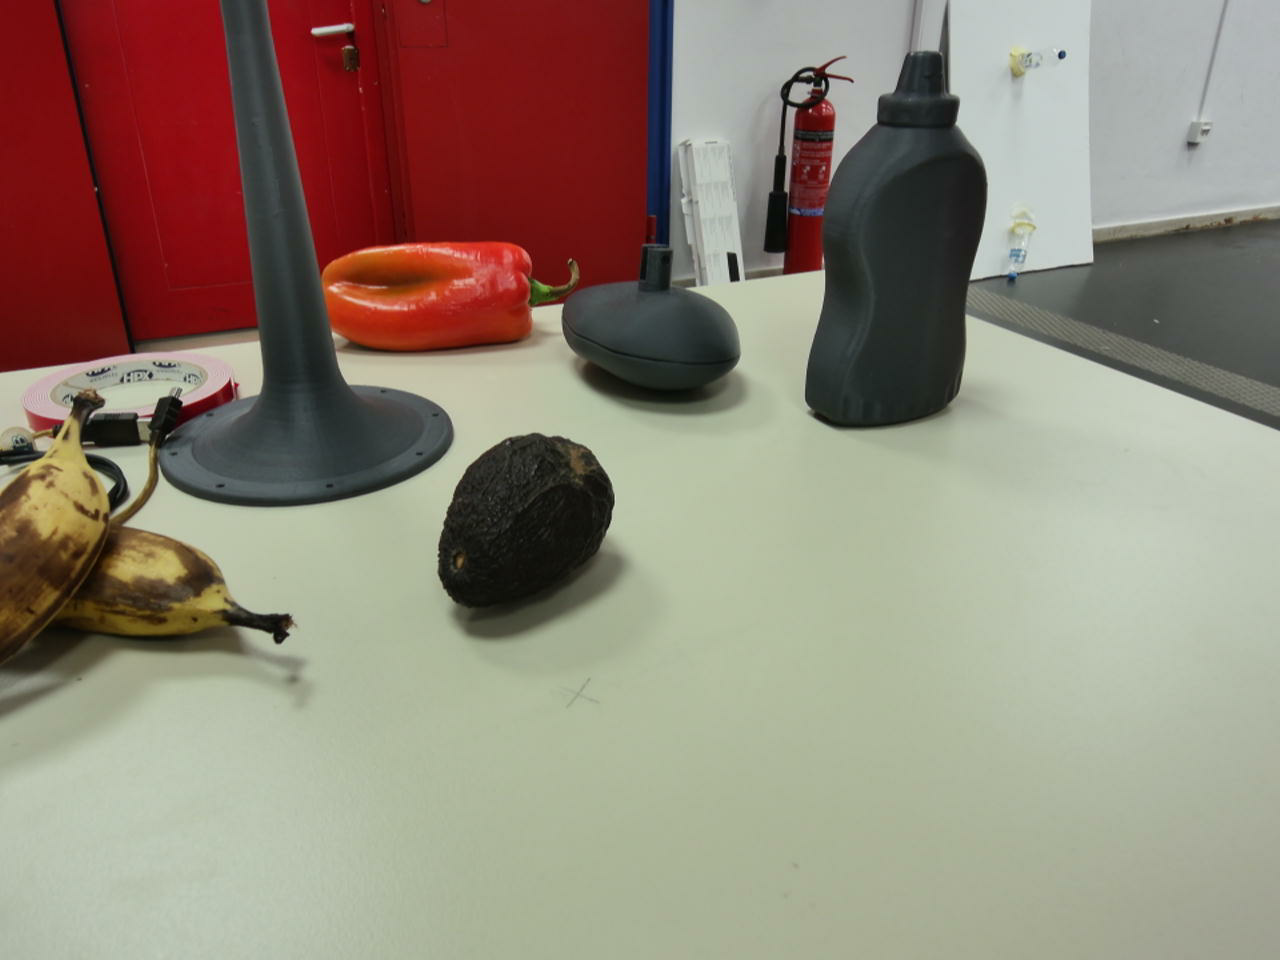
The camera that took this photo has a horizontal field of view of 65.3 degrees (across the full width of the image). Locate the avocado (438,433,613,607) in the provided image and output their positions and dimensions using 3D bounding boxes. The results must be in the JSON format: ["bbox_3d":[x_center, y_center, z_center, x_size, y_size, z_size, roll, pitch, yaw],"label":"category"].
[{"bbox_3d":[-0.050,0.015,0.416,0.062,0.062,0.092,19,31,36],"label":"avocado"}]
